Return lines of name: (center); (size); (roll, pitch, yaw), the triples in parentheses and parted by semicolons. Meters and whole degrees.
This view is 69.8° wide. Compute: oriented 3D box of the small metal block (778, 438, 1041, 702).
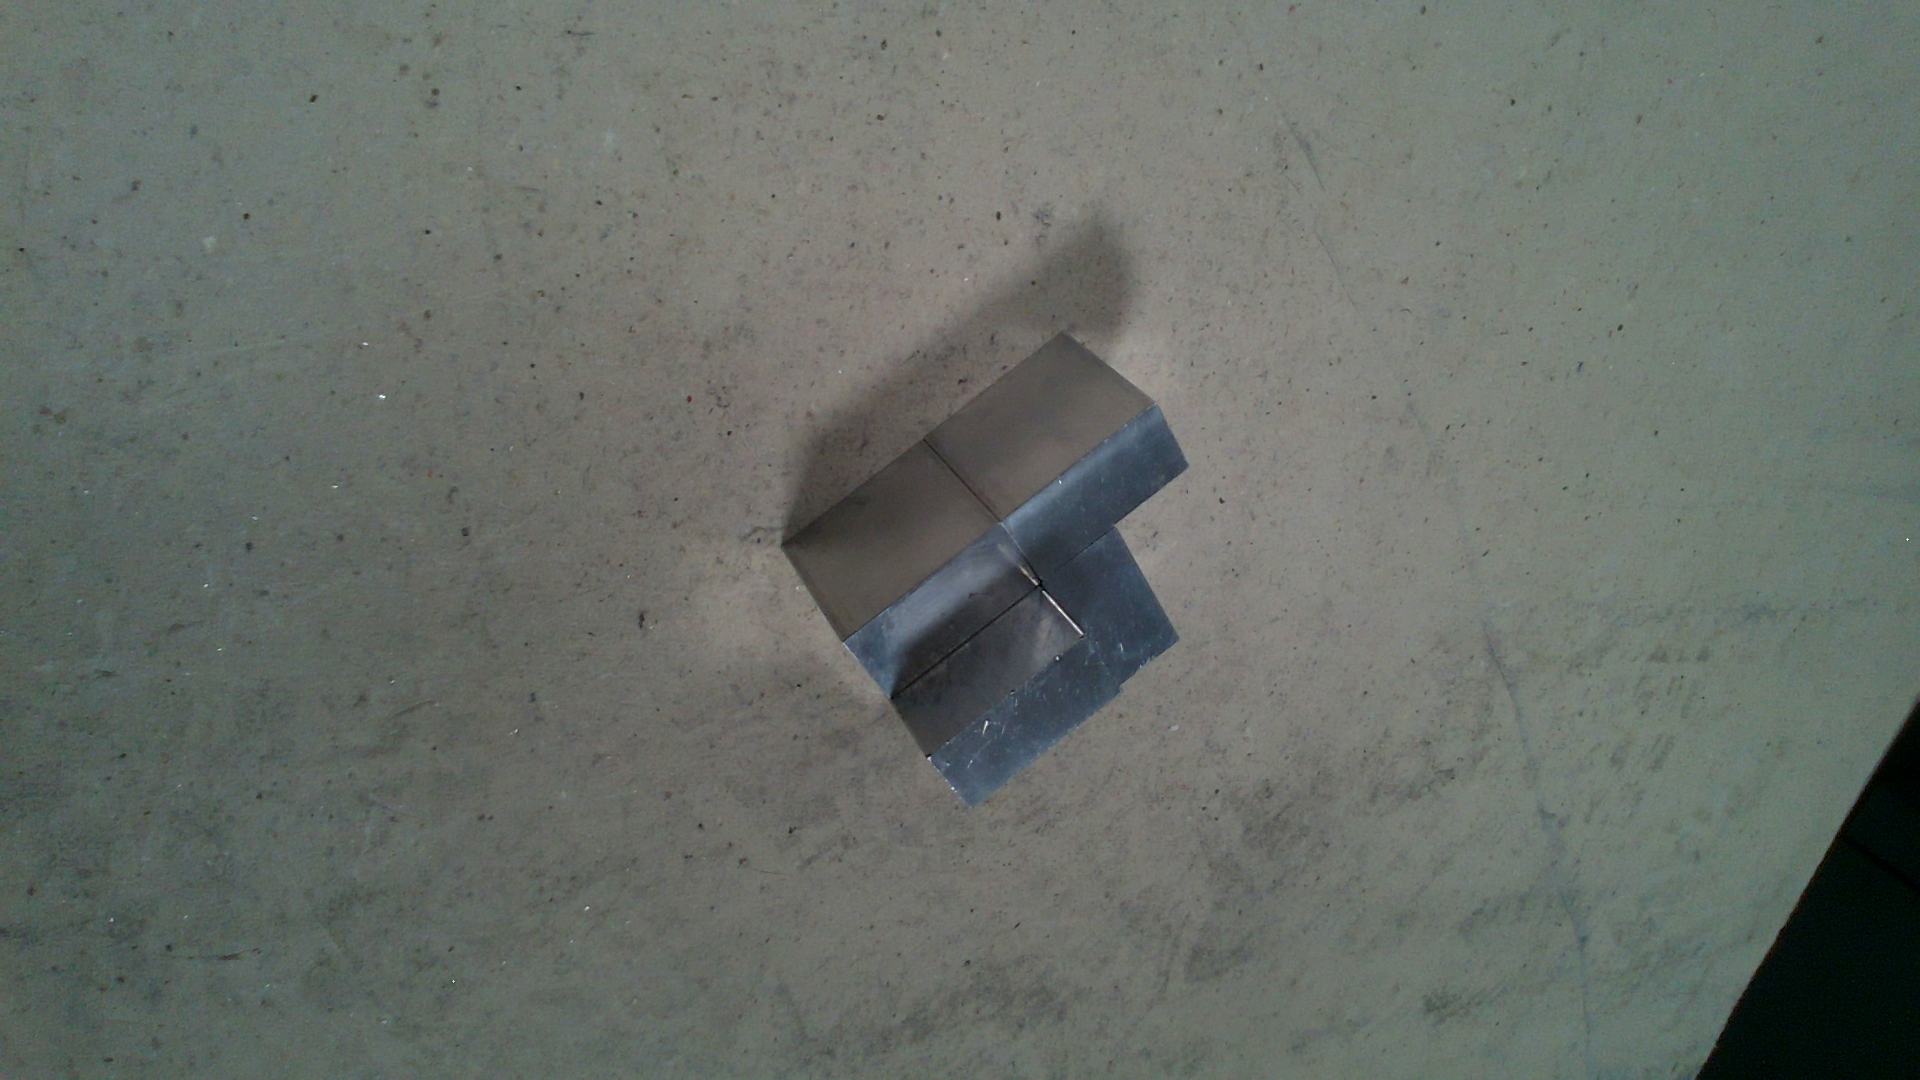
small metal block: (-0.015, 0.007, 0.369); (0.050, 0.050, 0.025); (-38, 129, -3)

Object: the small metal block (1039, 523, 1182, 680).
small metal block: (0.032, 0.008, 0.395); (0.025, 0.050, 0.050); (-37, 129, -3)

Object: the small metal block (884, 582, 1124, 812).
small metal block: (0.007, 0.035, 0.366); (0.050, 0.050, 0.025); (-38, 129, -3)

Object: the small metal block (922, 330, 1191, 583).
small metal block: (0.025, -0.024, 0.372); (0.050, 0.050, 0.025); (-38, 129, -3)

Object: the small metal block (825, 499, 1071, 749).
small metal block: (-0.003, 0.025, 0.403); (0.050, 0.025, 0.050); (-37, 129, -4)
